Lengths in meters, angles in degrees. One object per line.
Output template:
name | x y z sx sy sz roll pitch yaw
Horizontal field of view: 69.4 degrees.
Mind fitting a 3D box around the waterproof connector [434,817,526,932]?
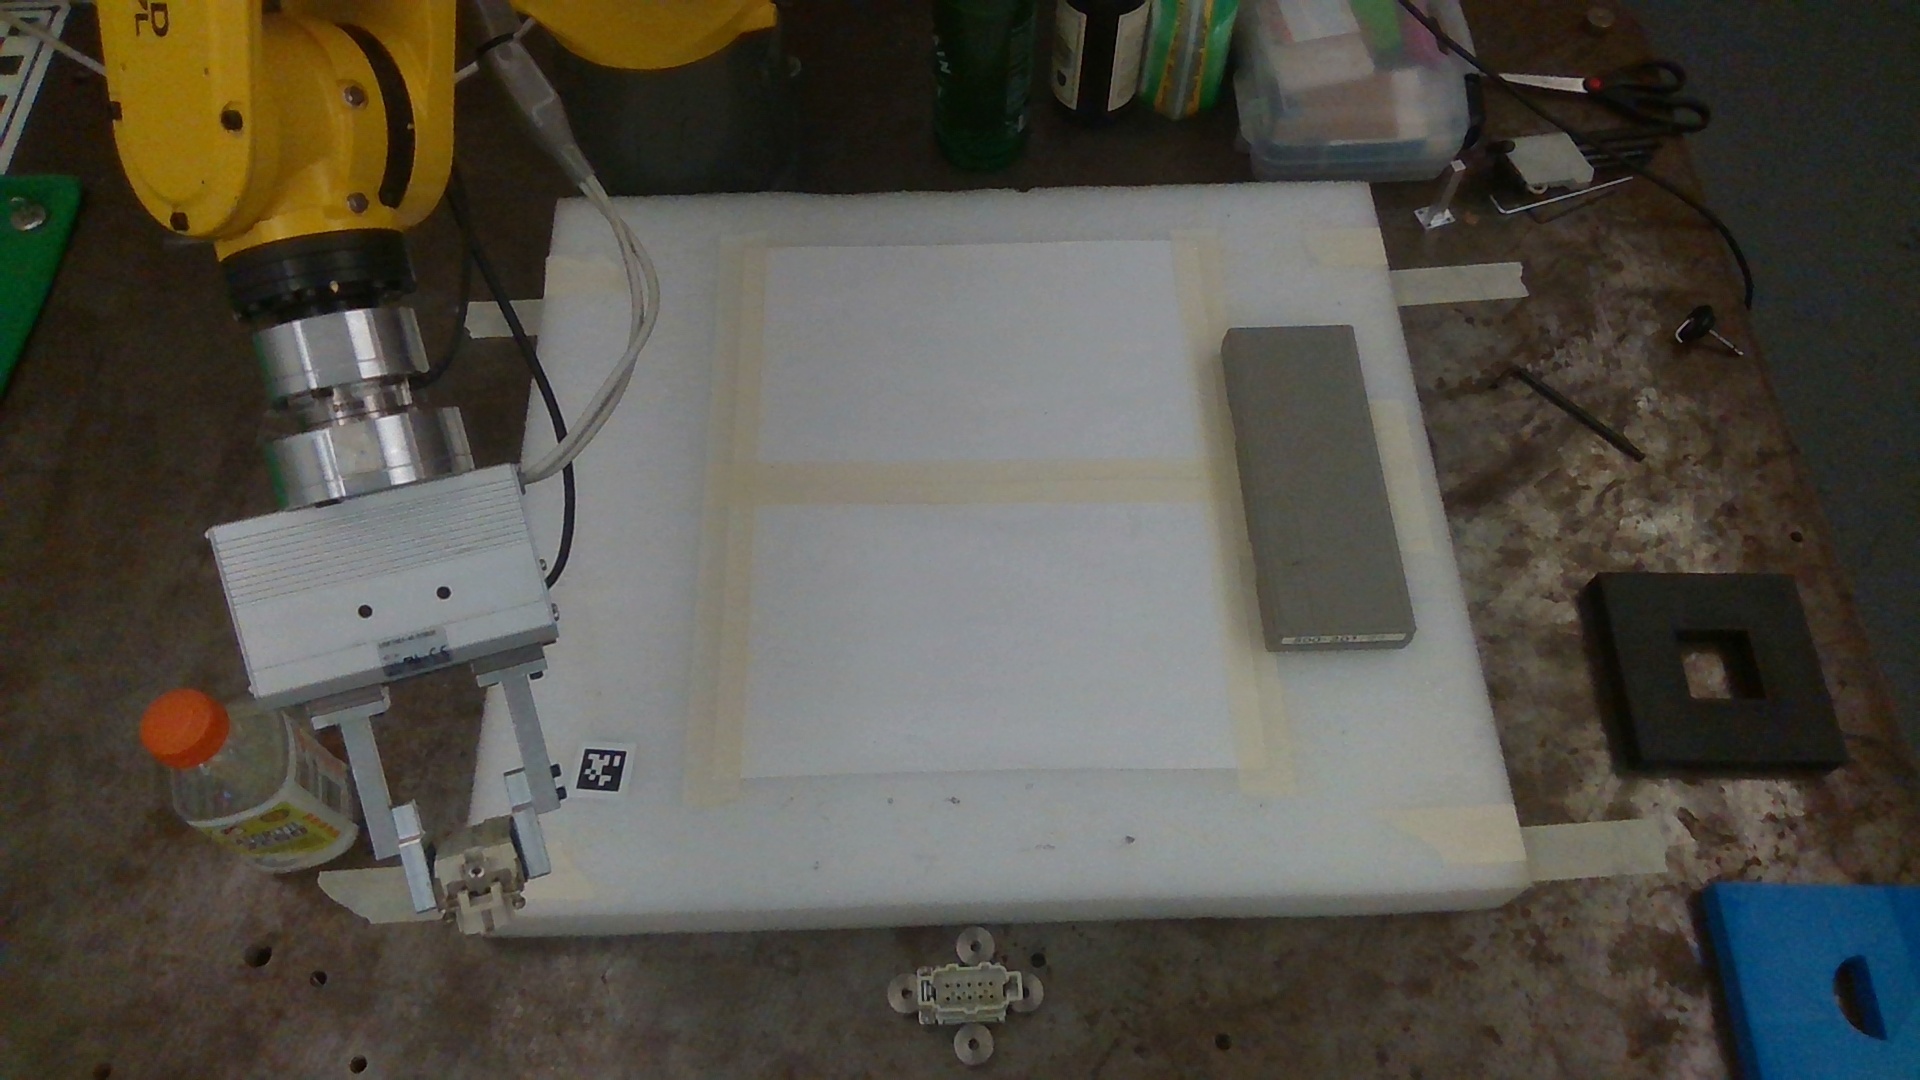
waterproof connector | -0.231 0.162 0.672 0.036 0.069 0.038 -15 99 -13
